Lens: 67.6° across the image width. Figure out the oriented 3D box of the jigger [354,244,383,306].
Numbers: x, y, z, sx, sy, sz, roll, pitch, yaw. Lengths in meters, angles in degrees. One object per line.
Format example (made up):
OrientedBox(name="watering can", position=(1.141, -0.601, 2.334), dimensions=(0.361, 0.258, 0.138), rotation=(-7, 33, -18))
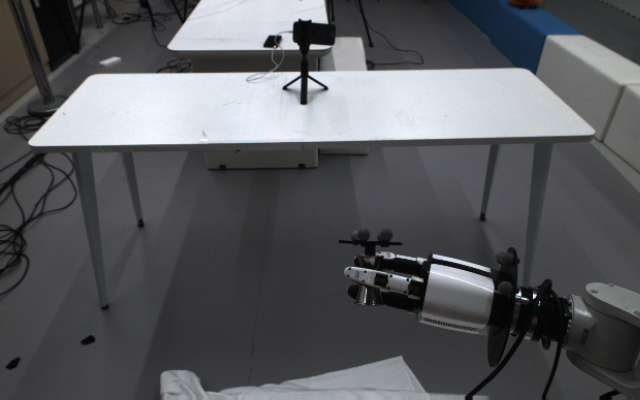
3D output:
OrientedBox(name="jigger", position=(0.069, 0.110, 0.680), dimensions=(0.043, 0.071, 0.043), rotation=(1, -6, 0))
